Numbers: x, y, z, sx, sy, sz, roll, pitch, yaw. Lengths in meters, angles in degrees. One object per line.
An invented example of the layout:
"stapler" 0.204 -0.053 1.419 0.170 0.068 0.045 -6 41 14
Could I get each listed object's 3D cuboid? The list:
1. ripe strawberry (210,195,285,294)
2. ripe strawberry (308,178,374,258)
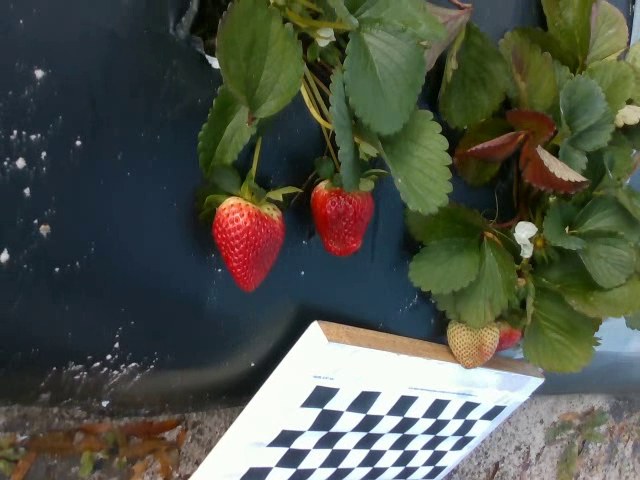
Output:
"ripe strawberry" -0.041 0.004 0.348 0.050 0.061 0.045 9 -4 -31
"ripe strawberry" 0.017 -0.013 0.377 0.042 0.053 0.034 4 2 -27
